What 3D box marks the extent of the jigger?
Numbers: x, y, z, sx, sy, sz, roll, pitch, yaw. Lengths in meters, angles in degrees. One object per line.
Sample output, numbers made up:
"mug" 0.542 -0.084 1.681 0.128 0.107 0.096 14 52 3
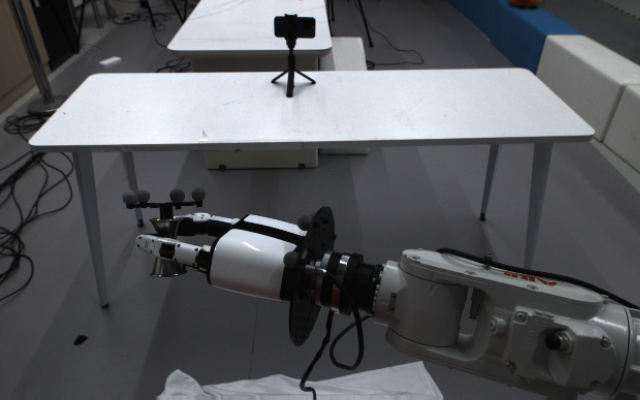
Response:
"jigger" -0.185 0.057 0.589 0.043 0.071 0.043 -2 4 0
